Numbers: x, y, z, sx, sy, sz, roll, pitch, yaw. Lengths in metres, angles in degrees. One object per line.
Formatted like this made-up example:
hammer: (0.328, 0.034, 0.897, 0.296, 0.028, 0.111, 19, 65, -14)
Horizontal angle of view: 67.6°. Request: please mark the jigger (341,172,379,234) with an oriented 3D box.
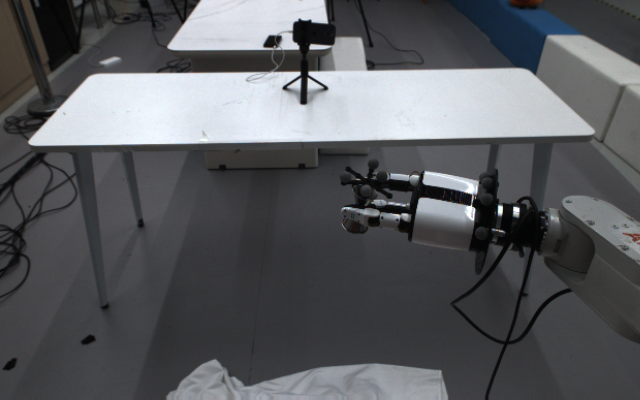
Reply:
jigger: (0.061, 0.013, 0.756, 0.043, 0.071, 0.043, 10, 36, -7)
